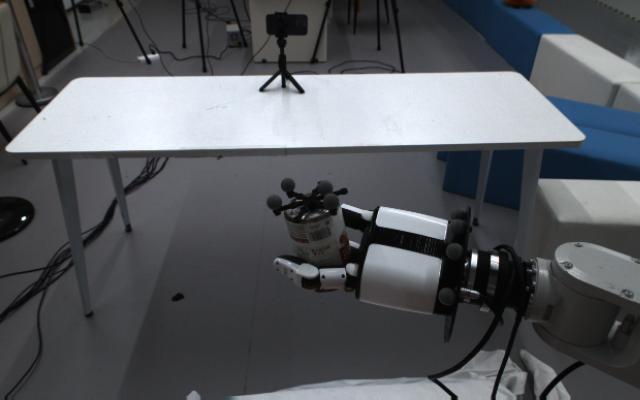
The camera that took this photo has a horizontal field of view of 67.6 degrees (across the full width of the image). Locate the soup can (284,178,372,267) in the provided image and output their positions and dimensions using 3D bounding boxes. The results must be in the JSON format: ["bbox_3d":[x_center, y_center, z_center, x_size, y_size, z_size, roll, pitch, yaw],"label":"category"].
[{"bbox_3d":[0.003,0.049,0.575,0.067,0.101,0.067,-11,28,6],"label":"soup can"}]
